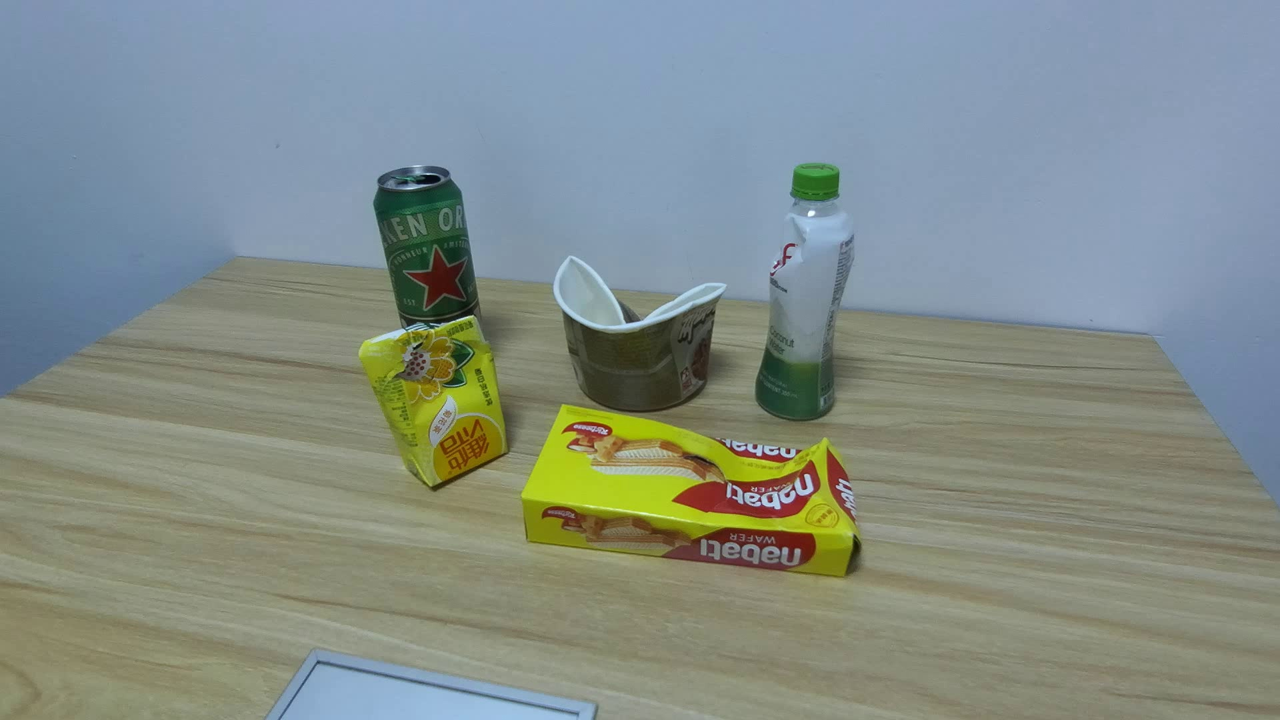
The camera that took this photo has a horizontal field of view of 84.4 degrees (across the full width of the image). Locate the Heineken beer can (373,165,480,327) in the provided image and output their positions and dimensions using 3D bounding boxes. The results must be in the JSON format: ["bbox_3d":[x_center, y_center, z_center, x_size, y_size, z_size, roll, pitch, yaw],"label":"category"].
[{"bbox_3d":[-0.169,-0.067,0.579,0.067,0.169,0.067,-1,33,1],"label":"Heineken beer can"}]

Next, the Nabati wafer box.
[{"bbox_3d":[0.037,0.080,0.461,0.204,0.042,0.107,6,34,9],"label":"Nabati wafer box"}]

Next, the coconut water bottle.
[{"bbox_3d":[0.121,-0.049,0.519,0.069,0.186,0.069,-1,31,1],"label":"coconut water bottle"}]

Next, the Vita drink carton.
[{"bbox_3d":[-0.142,0.025,0.496,0.087,0.108,0.042,-22,25,-34],"label":"Vita drink carton"}]

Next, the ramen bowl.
[{"bbox_3d":[-0.007,-0.023,0.572,0.137,0.098,0.137,-2,31,2],"label":"ramen bowl"}]
